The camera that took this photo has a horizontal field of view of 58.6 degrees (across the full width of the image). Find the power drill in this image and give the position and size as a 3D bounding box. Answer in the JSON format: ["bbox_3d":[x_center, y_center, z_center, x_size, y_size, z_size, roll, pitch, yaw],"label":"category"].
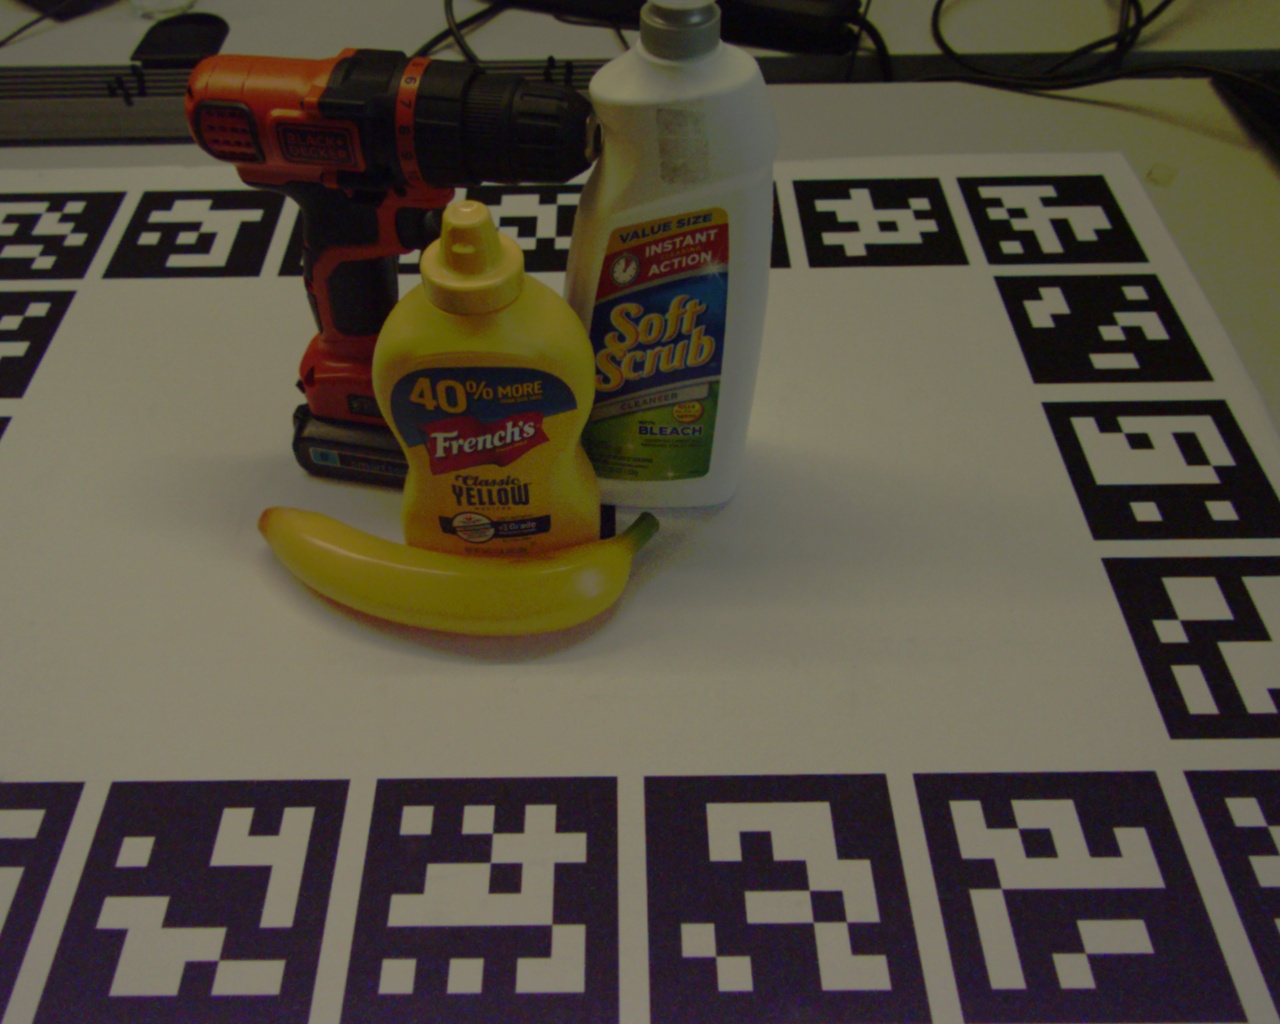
[{"bbox_3d":[-0.105,-0.119,0.561,0.185,0.186,0.057,10,49,7],"label":"power drill"}]

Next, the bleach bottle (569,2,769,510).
[{"bbox_3d":[0.006,-0.112,0.548,0.103,0.250,0.068,2,44,2],"label":"bleach bottle"}]

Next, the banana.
[{"bbox_3d":[-0.085,0.026,0.574,0.198,0.038,0.074,2,50,6],"label":"banana"}]

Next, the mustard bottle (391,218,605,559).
[{"bbox_3d":[-0.064,-0.052,0.529,0.096,0.191,0.058,1,49,0],"label":"mustard bottle"}]
